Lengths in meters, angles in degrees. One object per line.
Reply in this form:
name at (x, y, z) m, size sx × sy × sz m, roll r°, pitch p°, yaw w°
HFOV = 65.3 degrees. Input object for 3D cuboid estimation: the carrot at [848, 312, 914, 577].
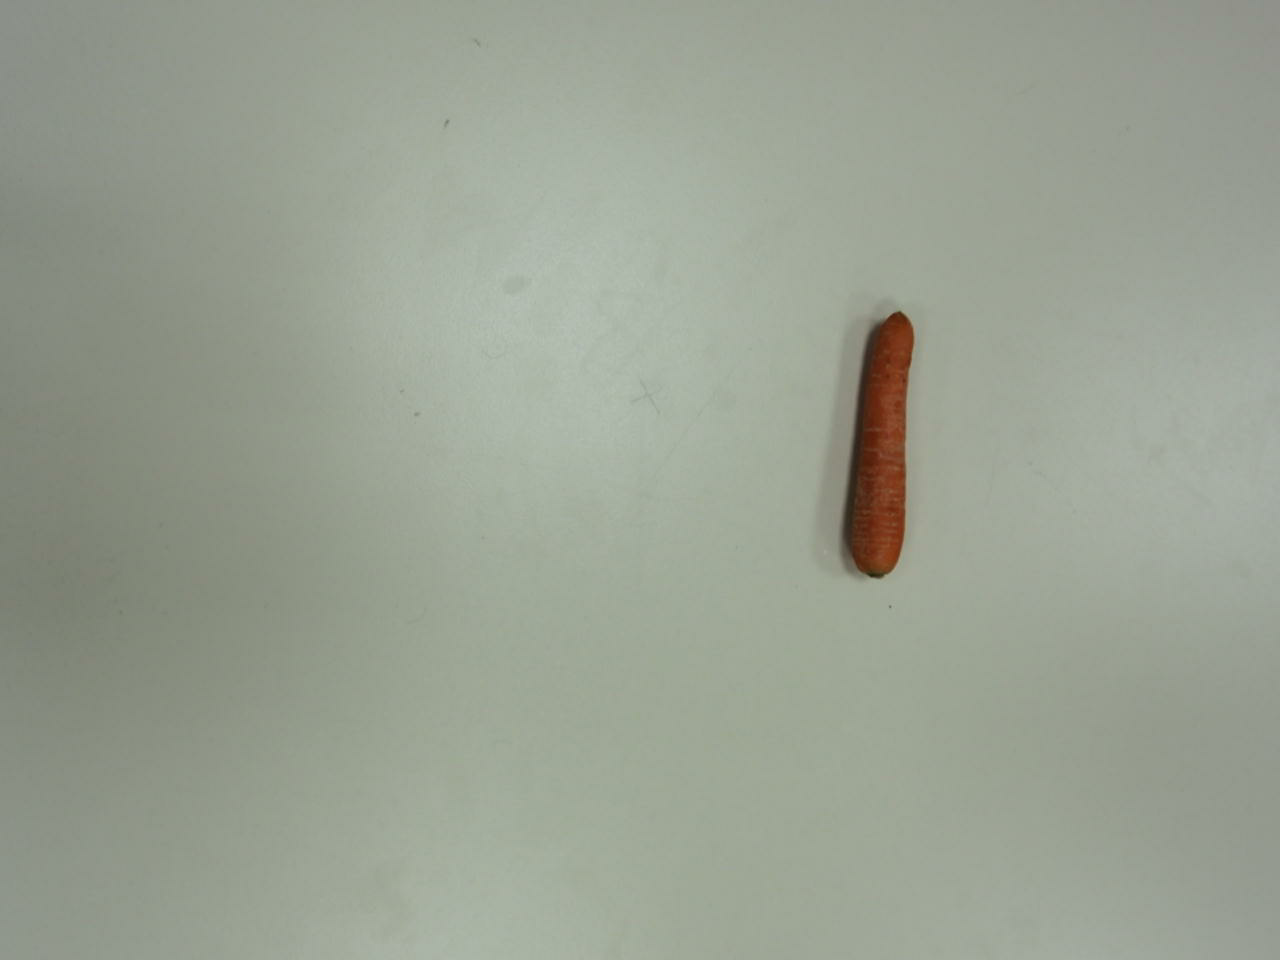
carrot at (0.112, -0.017, 0.455) m, size 0.024 × 0.023 × 0.122 m, roll 7°, pitch 89°, yaw -12°
